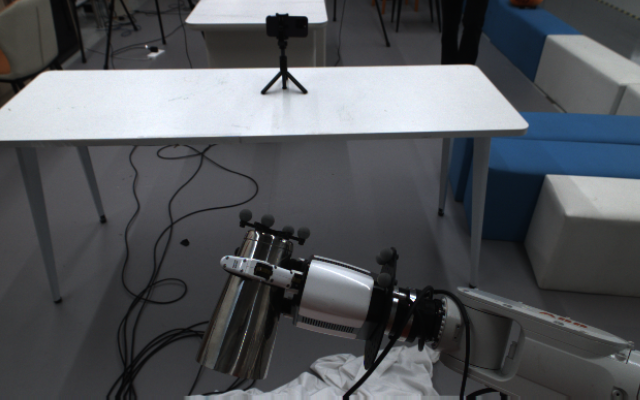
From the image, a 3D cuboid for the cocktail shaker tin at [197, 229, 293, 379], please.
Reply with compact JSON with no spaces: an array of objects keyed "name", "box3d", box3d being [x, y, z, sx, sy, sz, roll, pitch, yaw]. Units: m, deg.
[{"name":"cocktail shaker tin","box3d":[-0.086,0.128,0.623,0.093,0.093,0.170,13,80,16]}]
